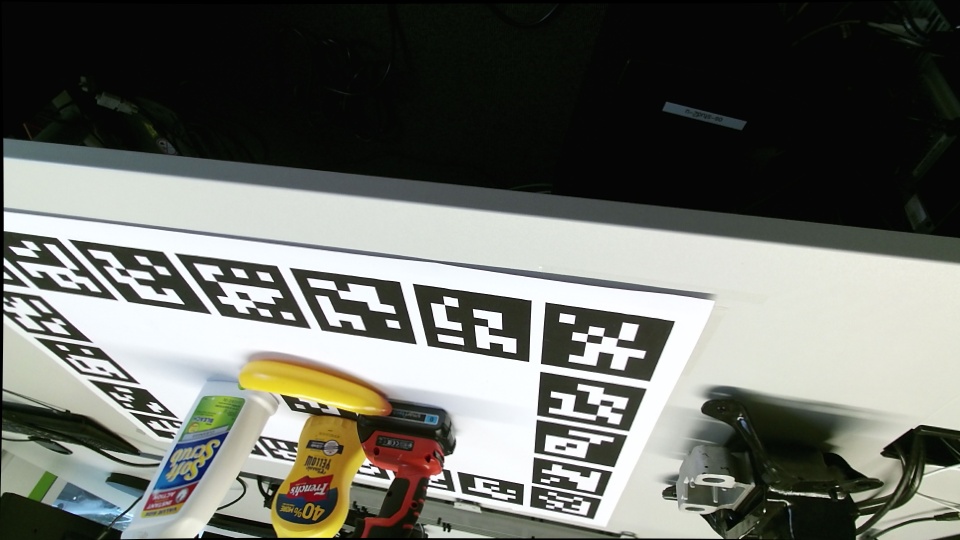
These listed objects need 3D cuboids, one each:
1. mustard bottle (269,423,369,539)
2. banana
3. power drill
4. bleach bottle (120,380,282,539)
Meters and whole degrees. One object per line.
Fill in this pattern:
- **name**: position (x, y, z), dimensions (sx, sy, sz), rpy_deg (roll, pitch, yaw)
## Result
- **mustard bottle**: position (-0.214, 0.298, 0.694), dimensions (0.096, 0.190, 0.058), rpy_deg (8, 139, 10)
- **banana**: position (-0.210, 0.147, 0.637), dimensions (0.198, 0.038, 0.074), rpy_deg (8, 134, 6)
- **power drill**: position (-0.121, 0.283, 0.619), dimensions (0.185, 0.186, 0.057), rpy_deg (7, 145, 14)
- **bleach bottle**: position (-0.348, 0.258, 0.659), dimensions (0.103, 0.249, 0.068), rpy_deg (1, 136, 16)
